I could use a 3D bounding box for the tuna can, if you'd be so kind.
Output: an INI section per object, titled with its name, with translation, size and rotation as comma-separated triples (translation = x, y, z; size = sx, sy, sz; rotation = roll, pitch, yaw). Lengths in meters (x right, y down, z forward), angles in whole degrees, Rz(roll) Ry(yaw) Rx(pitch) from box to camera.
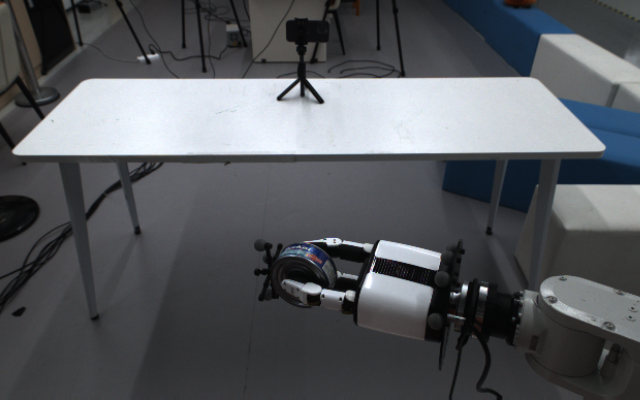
[tuna can]
translation = -0.019, 0.103, 0.643
size = 0.085, 0.085, 0.034
rotation = 12, 28, 14
